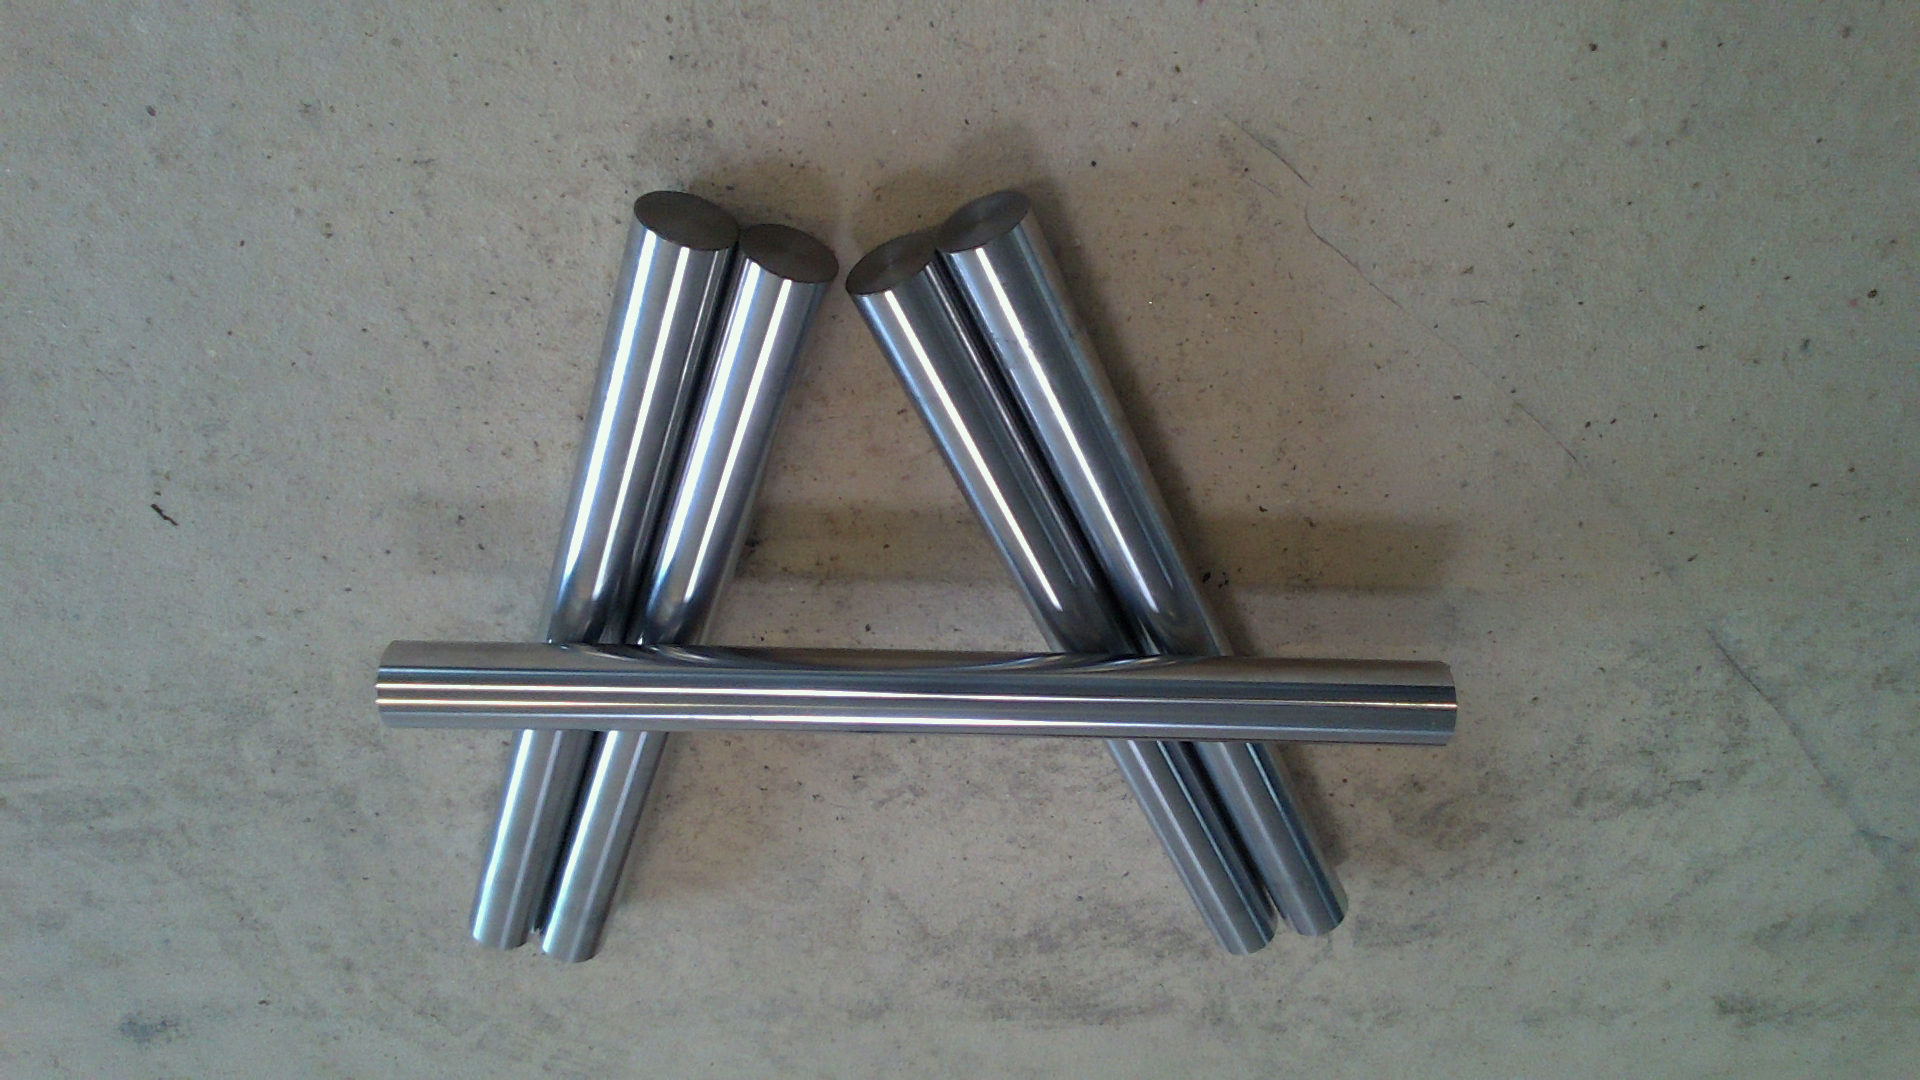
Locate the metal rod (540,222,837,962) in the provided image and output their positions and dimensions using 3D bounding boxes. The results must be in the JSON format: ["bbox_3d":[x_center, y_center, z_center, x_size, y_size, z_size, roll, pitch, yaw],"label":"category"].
[{"bbox_3d":[-0.093,0.038,0.422,0.025,0.025,0.299,15,128,-13],"label":"metal rod"}]

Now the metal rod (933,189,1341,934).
[{"bbox_3d":[0.066,0.029,0.416,0.025,0.025,0.301,-19,128,15],"label":"metal rod"}]

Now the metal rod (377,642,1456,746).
[{"bbox_3d":[-0.011,0.044,0.395,0.300,0.025,0.025,1,130,-1],"label":"metal rod"}]

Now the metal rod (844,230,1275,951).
[{"bbox_3d":[0.044,0.037,0.423,0.025,0.025,0.301,-19,128,15],"label":"metal rod"}]

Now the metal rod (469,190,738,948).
[{"bbox_3d":[-0.116,0.032,0.416,0.025,0.025,0.299,16,128,-13],"label":"metal rod"}]
